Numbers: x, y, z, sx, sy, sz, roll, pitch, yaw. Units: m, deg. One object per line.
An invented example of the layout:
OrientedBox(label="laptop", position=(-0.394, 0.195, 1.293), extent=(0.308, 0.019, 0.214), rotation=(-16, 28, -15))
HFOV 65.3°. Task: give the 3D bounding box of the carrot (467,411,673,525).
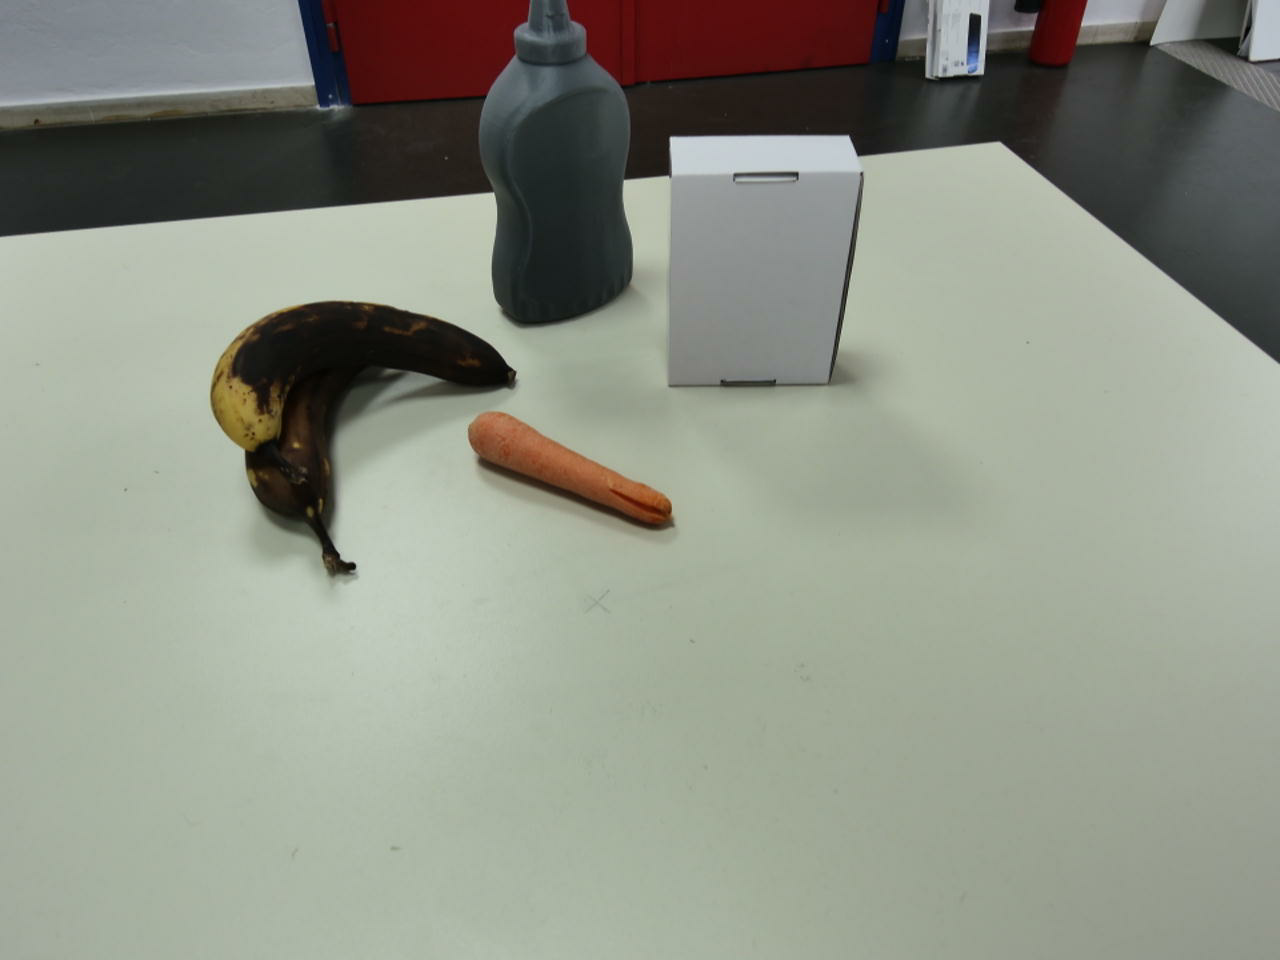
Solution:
OrientedBox(label="carrot", position=(-0.042, -0.008, 0.560), extent=(0.136, 0.032, 0.030), rotation=(22, 43, 25))
